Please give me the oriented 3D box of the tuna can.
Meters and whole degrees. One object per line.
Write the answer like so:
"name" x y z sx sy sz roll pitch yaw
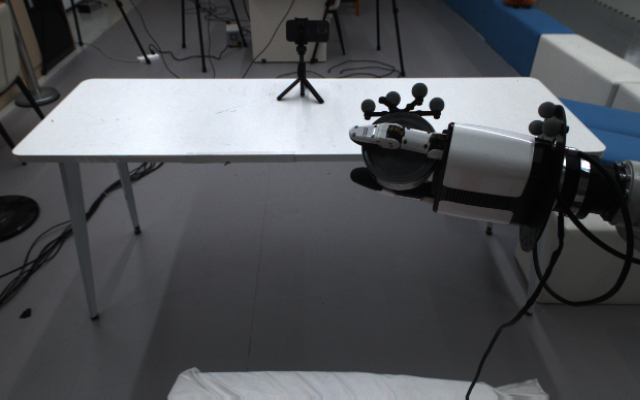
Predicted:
"tuna can" 0.093 -0.056 0.558 0.085 0.034 0.085 -3 73 11
